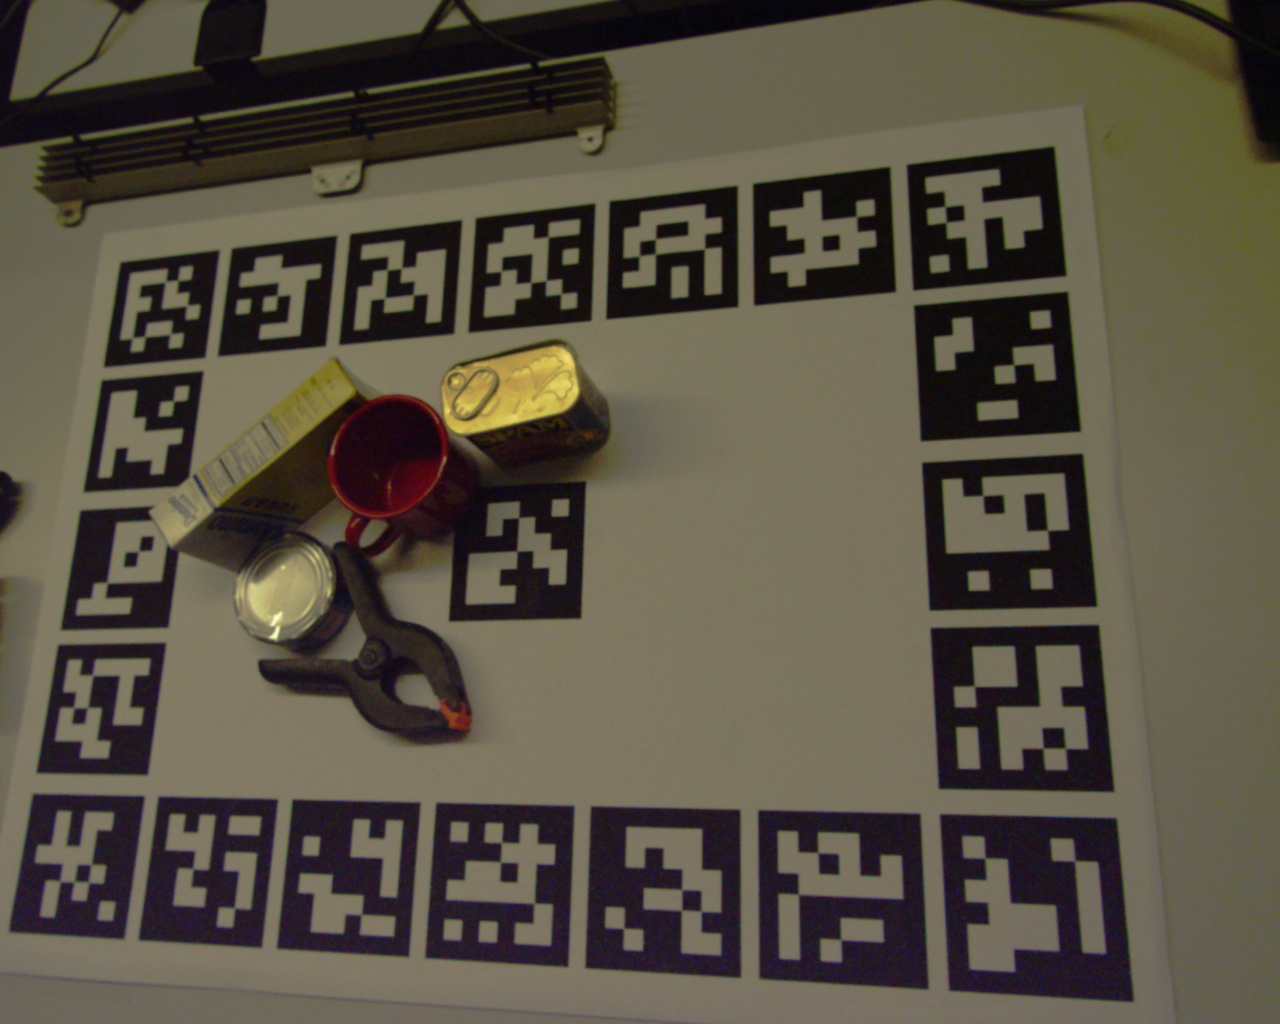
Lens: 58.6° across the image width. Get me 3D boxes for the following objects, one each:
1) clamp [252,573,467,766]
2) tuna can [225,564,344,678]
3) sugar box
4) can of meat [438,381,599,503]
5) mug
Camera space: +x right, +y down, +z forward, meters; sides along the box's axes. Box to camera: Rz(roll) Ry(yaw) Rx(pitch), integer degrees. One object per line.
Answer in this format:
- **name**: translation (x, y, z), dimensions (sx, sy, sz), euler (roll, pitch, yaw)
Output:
- **clamp**: translation (-0.198, 0.136, 0.852), dimensions (0.166, 0.036, 0.121), euler (33, 82, 17)
- **tuna can**: translation (-0.274, 0.085, 0.881), dimensions (0.086, 0.033, 0.086), euler (-4, 76, 15)
- **sugar box**: translation (-0.275, -0.005, 0.881), dimensions (0.176, 0.092, 0.046), euler (-39, 68, 1)
- **can of meat**: translation (-0.087, -0.049, 0.845), dimensions (0.102, 0.083, 0.058), euler (-11, 72, 11)
- **mug**: translation (-0.186, 0.004, 0.851), dimensions (0.094, 0.081, 0.117), euler (23, 84, 19)
